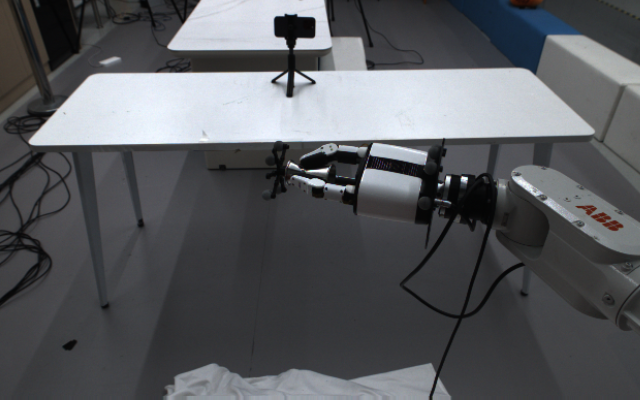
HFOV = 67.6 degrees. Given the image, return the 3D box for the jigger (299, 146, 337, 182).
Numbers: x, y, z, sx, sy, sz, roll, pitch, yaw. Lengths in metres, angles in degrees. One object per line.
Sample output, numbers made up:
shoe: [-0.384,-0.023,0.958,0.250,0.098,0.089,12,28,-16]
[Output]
jigger: [-0.008,-0.041,0.728,0.071,0.043,0.043,9,35,17]
